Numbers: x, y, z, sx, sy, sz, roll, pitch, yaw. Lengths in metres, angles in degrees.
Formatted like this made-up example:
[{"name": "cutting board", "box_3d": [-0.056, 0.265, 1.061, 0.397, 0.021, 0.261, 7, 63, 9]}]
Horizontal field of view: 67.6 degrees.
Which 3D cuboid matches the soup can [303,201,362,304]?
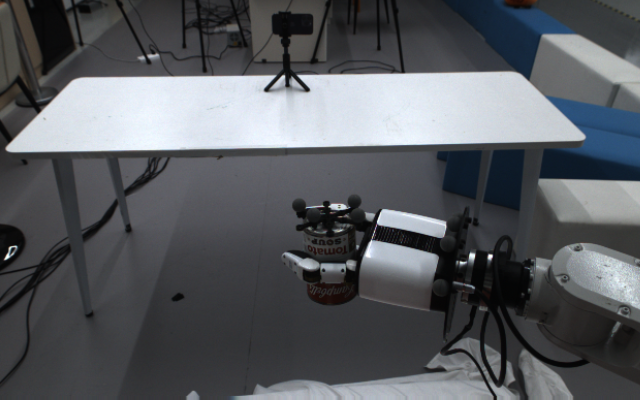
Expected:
[{"name": "soup can", "box_3d": [0.015, 0.071, 0.610, 0.067, 0.101, 0.067, -4, 26, 2]}]
